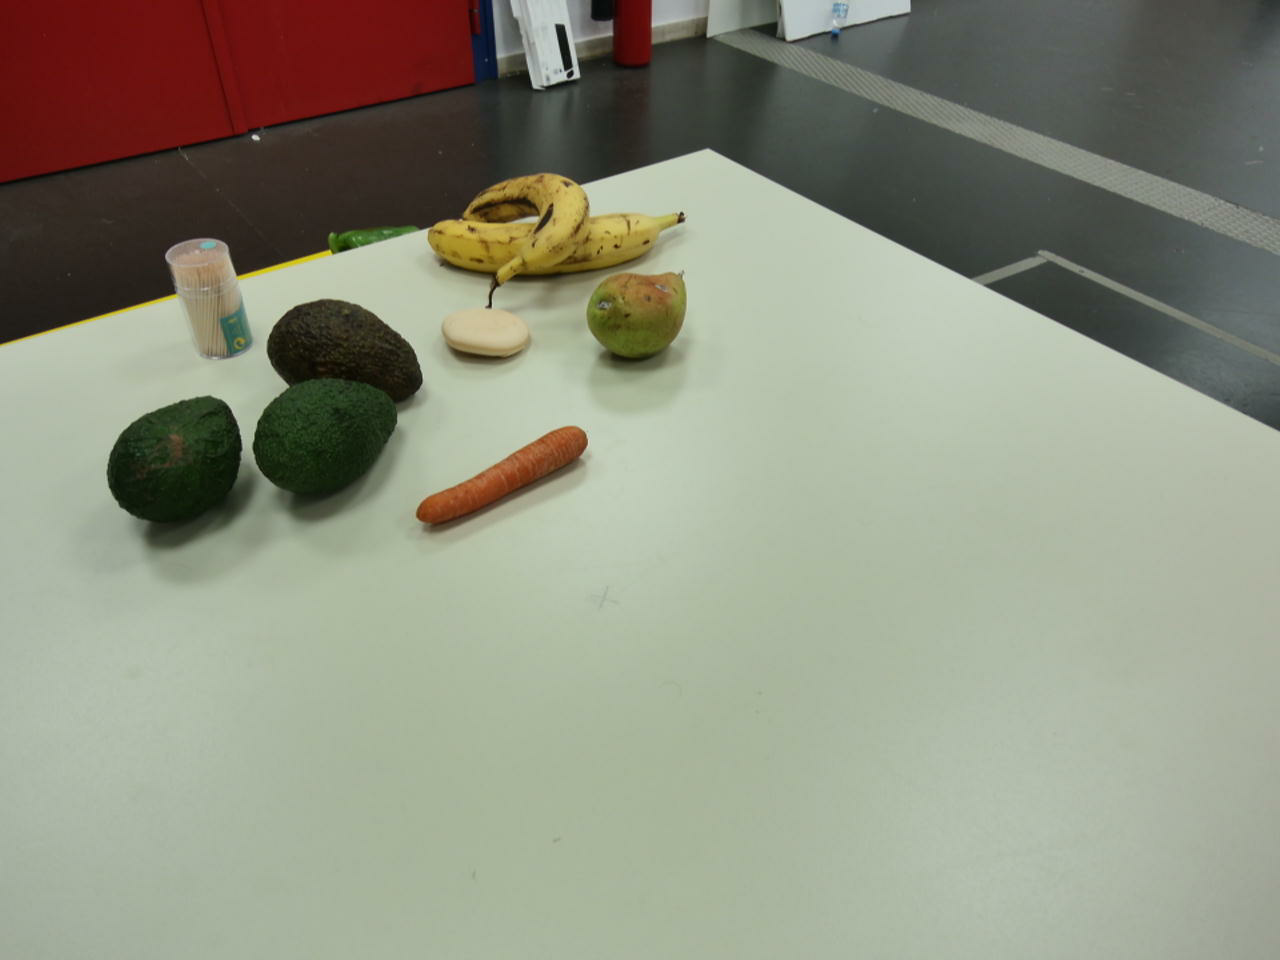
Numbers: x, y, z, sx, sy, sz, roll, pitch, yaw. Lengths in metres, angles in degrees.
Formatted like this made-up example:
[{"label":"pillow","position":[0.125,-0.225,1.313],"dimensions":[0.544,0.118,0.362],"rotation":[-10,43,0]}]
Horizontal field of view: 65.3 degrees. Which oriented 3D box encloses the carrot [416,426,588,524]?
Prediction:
[{"label":"carrot","position":[-0.082,-0.004,0.609],"dimensions":[0.122,0.023,0.024],"rotation":[-27,46,-30]}]
